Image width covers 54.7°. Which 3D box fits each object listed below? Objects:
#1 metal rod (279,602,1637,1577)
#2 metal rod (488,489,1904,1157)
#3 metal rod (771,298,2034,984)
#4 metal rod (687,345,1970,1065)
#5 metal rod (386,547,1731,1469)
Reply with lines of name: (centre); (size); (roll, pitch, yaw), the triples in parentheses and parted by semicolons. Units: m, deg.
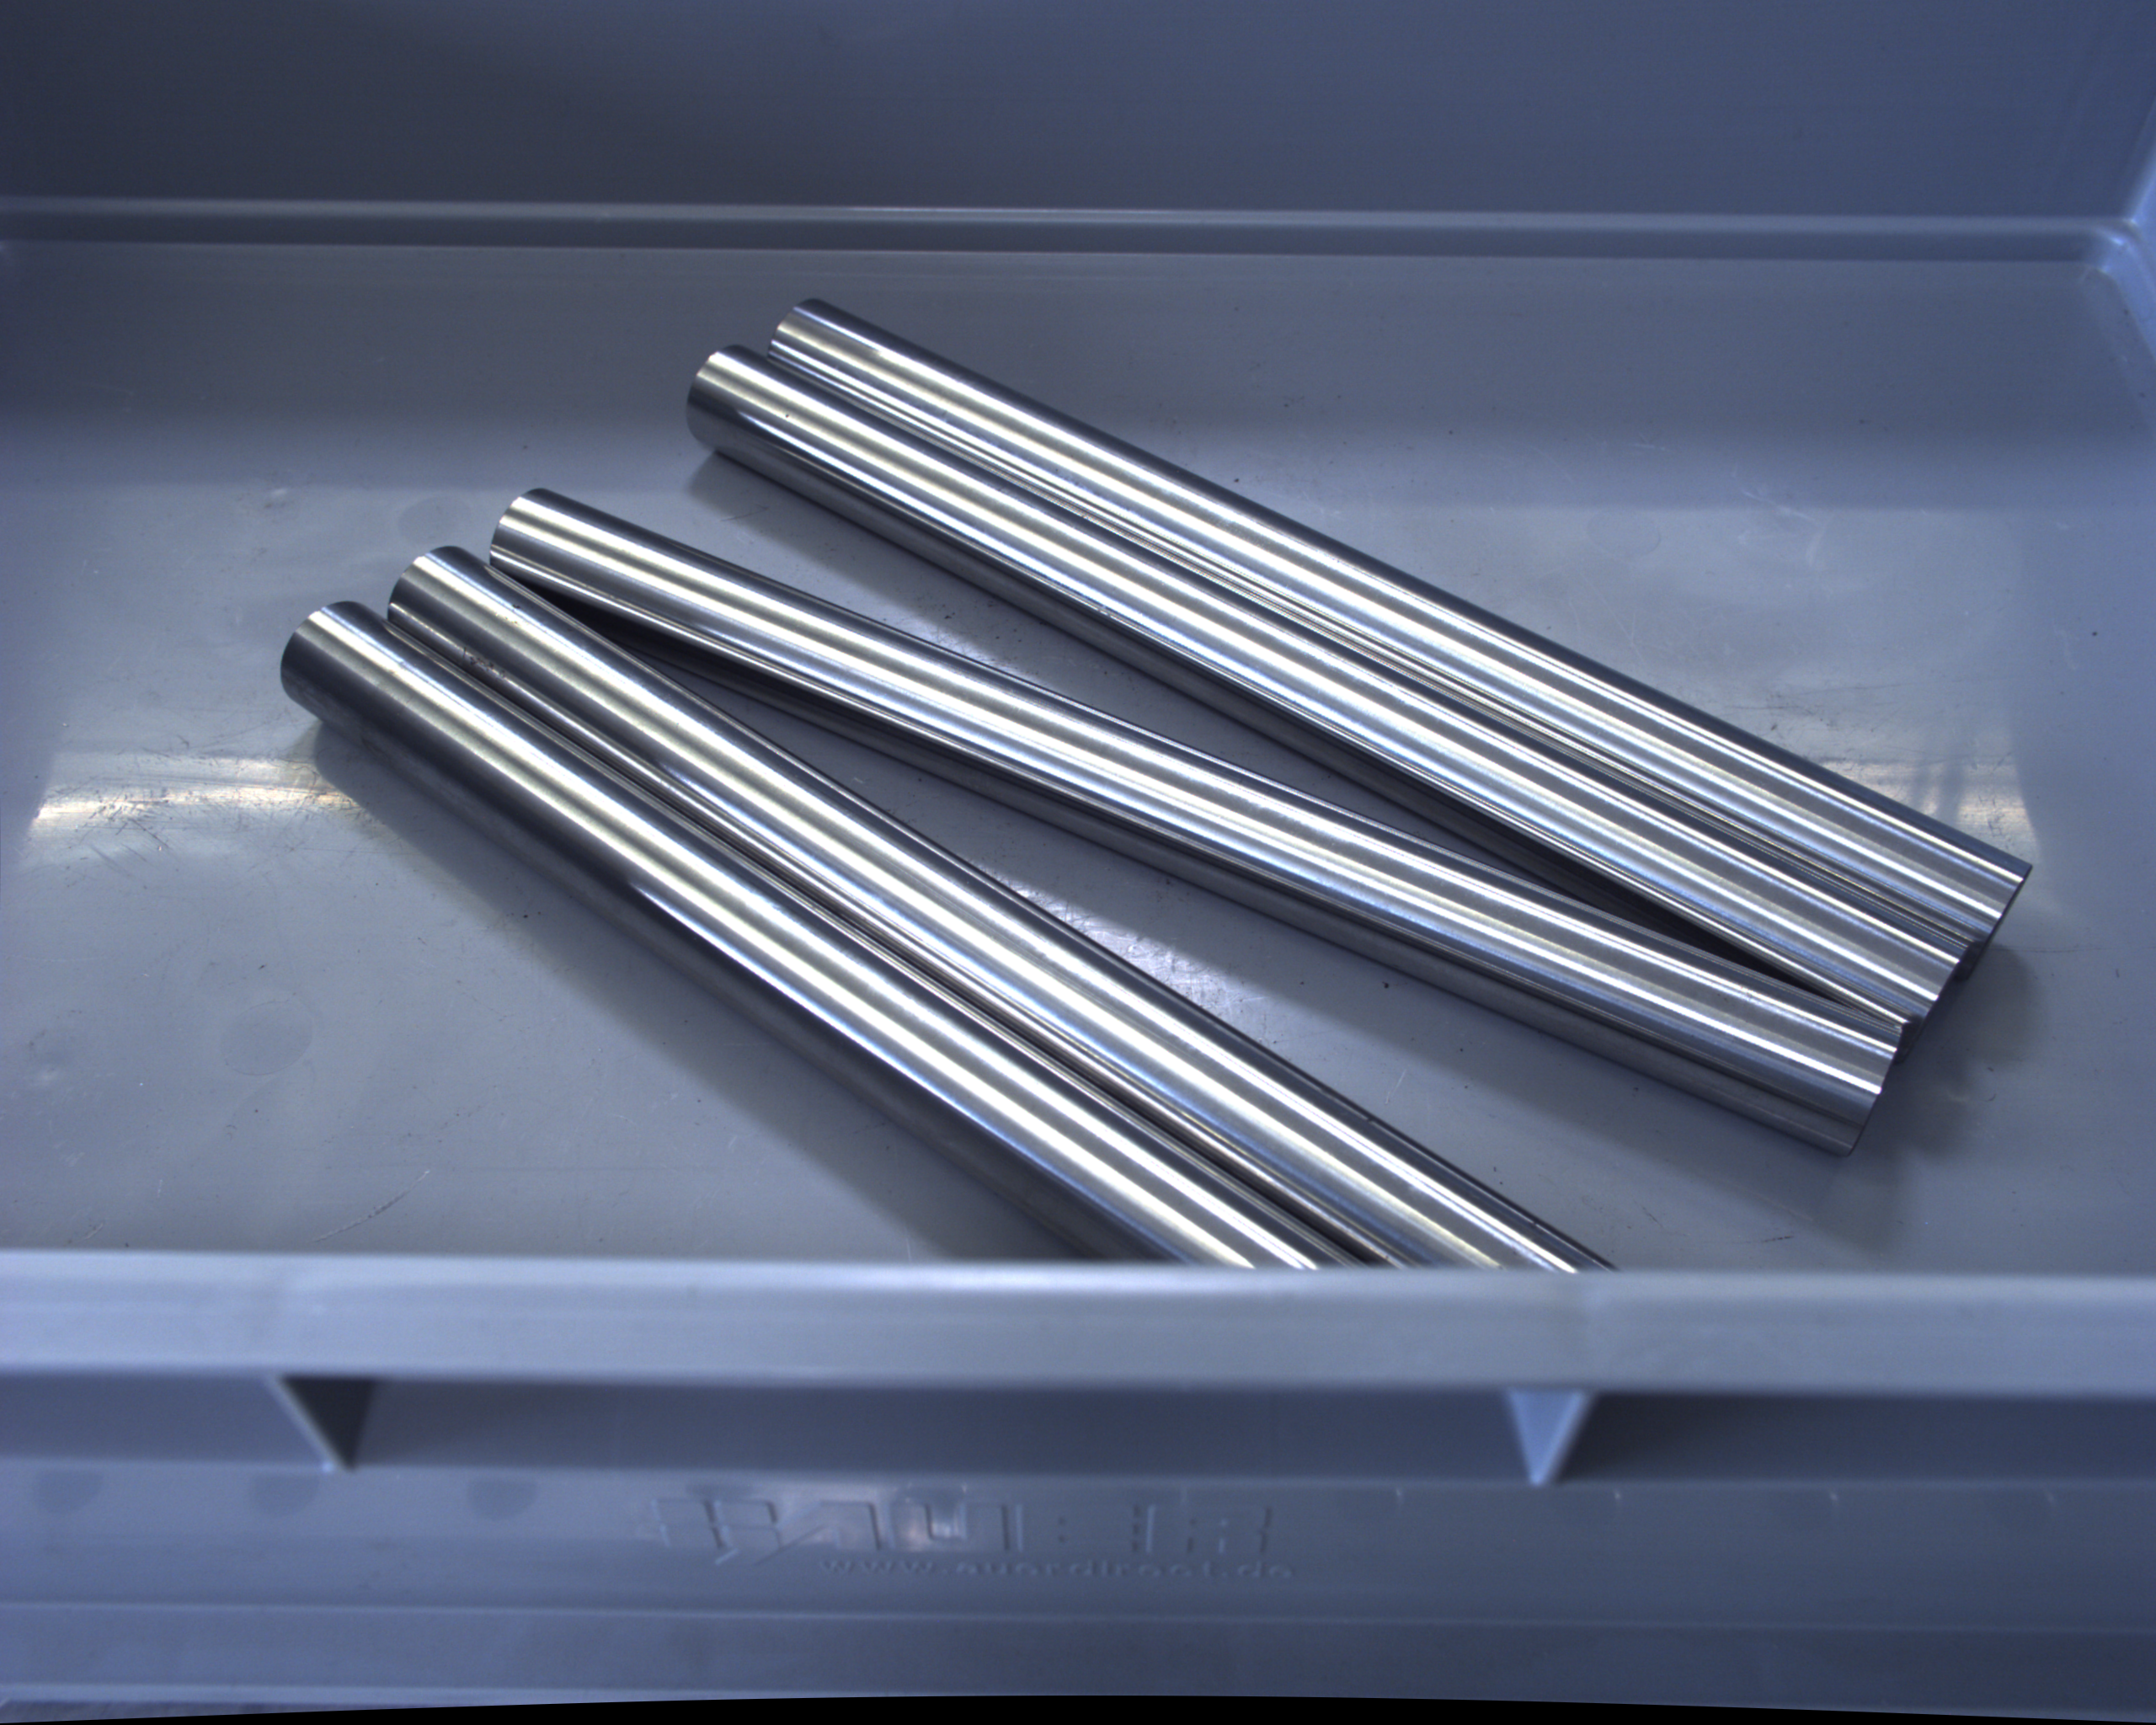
metal rod: (-0.039, 0.028, 0.380); (0.300, 0.025, 0.025); (31, 57, 23)
metal rod: (0.010, -0.015, 0.416); (0.301, 0.025, 0.025); (23, 54, 18)
metal rod: (0.054, -0.057, 0.451); (0.300, 0.025, 0.025); (30, 56, 22)
metal rod: (0.036, -0.042, 0.439); (0.300, 0.025, 0.025); (30, 56, 22)
metal rod: (-0.021, 0.015, 0.391); (0.300, 0.025, 0.025); (31, 57, 23)
